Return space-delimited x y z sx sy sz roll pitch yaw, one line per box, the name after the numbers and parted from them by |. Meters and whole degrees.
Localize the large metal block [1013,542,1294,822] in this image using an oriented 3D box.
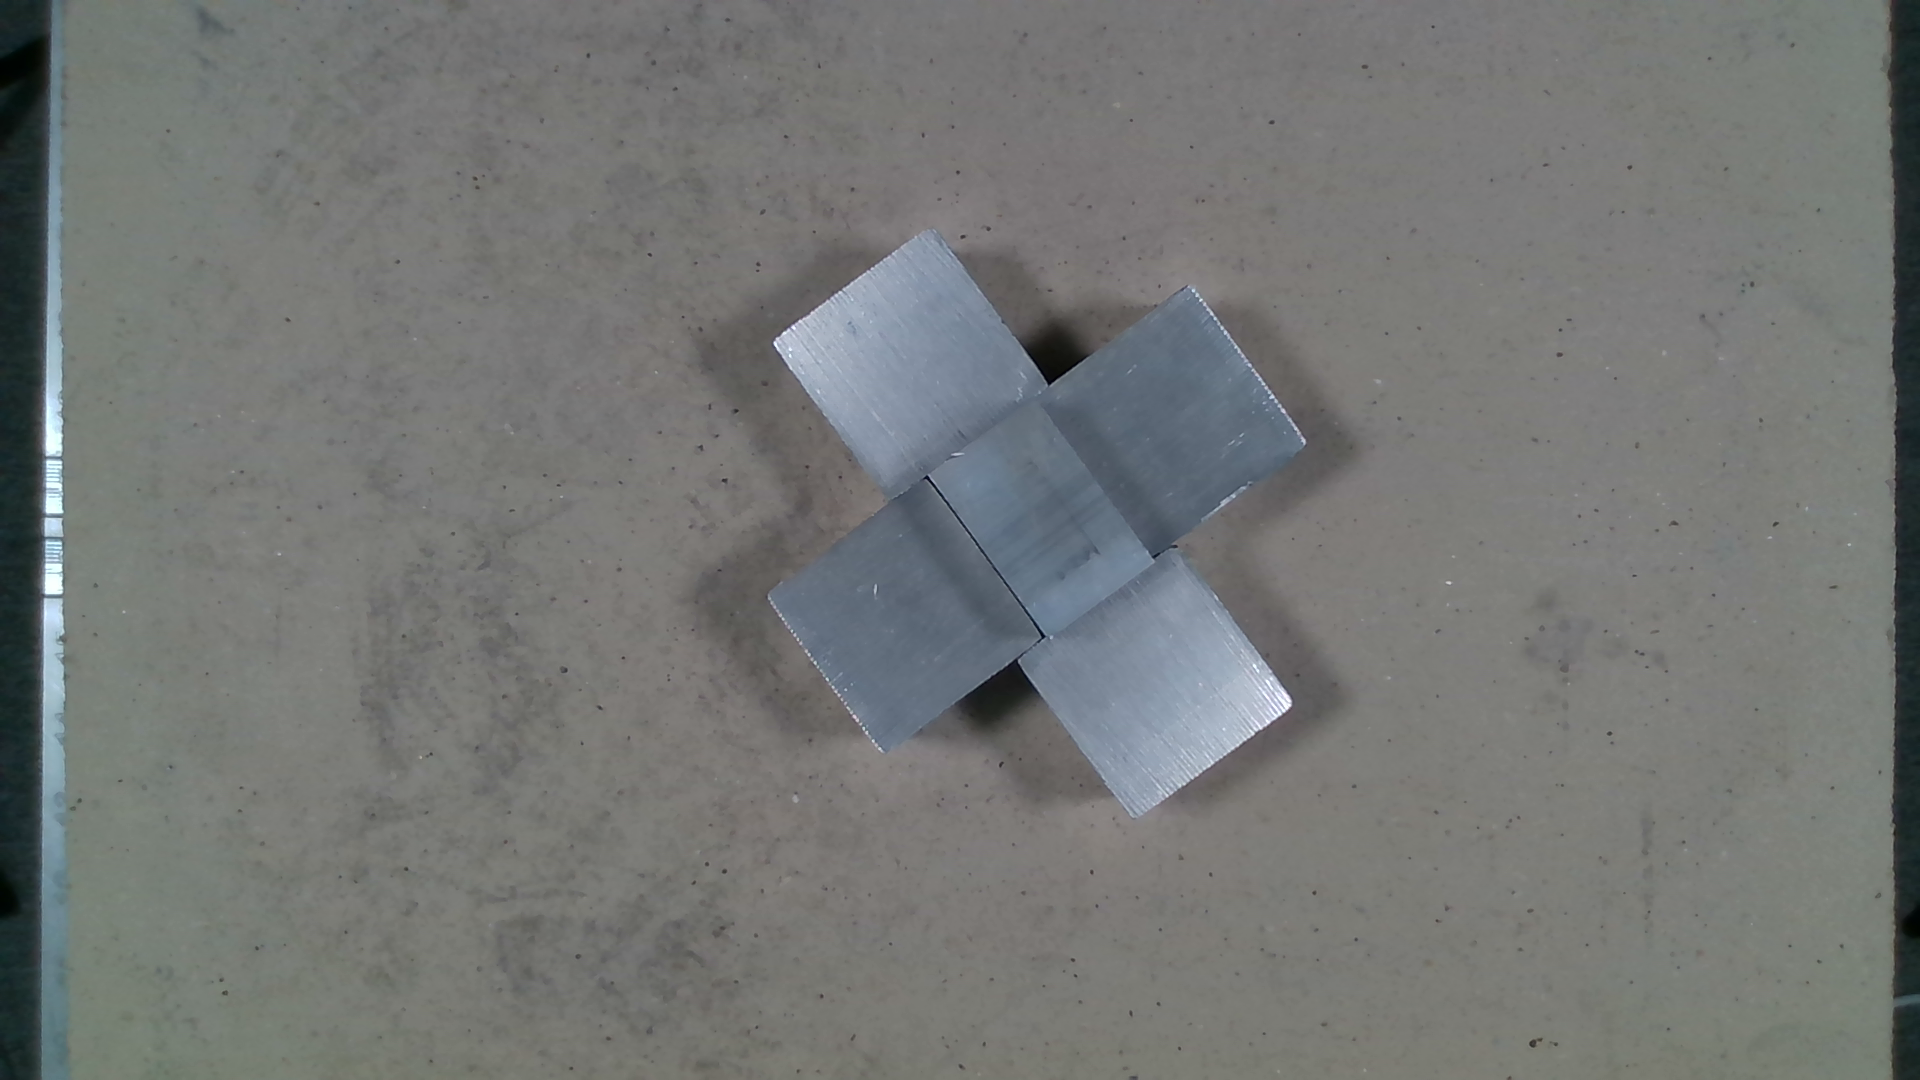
0.077 0.057 0.574 0.080 0.050 0.080 -37 90 0 | large metal block

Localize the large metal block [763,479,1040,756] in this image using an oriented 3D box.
-0.023 0.030 0.574 0.080 0.050 0.080 -37 90 0 | large metal block

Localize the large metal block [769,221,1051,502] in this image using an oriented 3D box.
-0.020 -0.071 0.573 0.080 0.050 0.080 -37 90 0 | large metal block

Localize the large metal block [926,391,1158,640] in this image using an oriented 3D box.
0.031 -0.009 0.559 0.050 0.080 0.080 -37 90 0 | large metal block

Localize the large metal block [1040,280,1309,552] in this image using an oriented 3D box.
0.083 -0.048 0.573 0.080 0.050 0.080 -37 90 0 | large metal block
